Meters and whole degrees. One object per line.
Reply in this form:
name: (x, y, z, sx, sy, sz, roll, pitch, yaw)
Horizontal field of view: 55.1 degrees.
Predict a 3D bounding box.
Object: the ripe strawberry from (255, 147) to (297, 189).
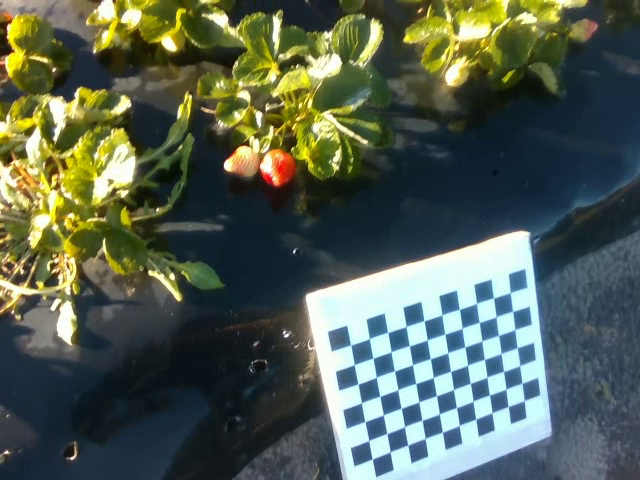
ripe strawberry: (-0.041, -0.069, 0.609, 0.040, 0.038, 0.056, -24, 21, 15)
